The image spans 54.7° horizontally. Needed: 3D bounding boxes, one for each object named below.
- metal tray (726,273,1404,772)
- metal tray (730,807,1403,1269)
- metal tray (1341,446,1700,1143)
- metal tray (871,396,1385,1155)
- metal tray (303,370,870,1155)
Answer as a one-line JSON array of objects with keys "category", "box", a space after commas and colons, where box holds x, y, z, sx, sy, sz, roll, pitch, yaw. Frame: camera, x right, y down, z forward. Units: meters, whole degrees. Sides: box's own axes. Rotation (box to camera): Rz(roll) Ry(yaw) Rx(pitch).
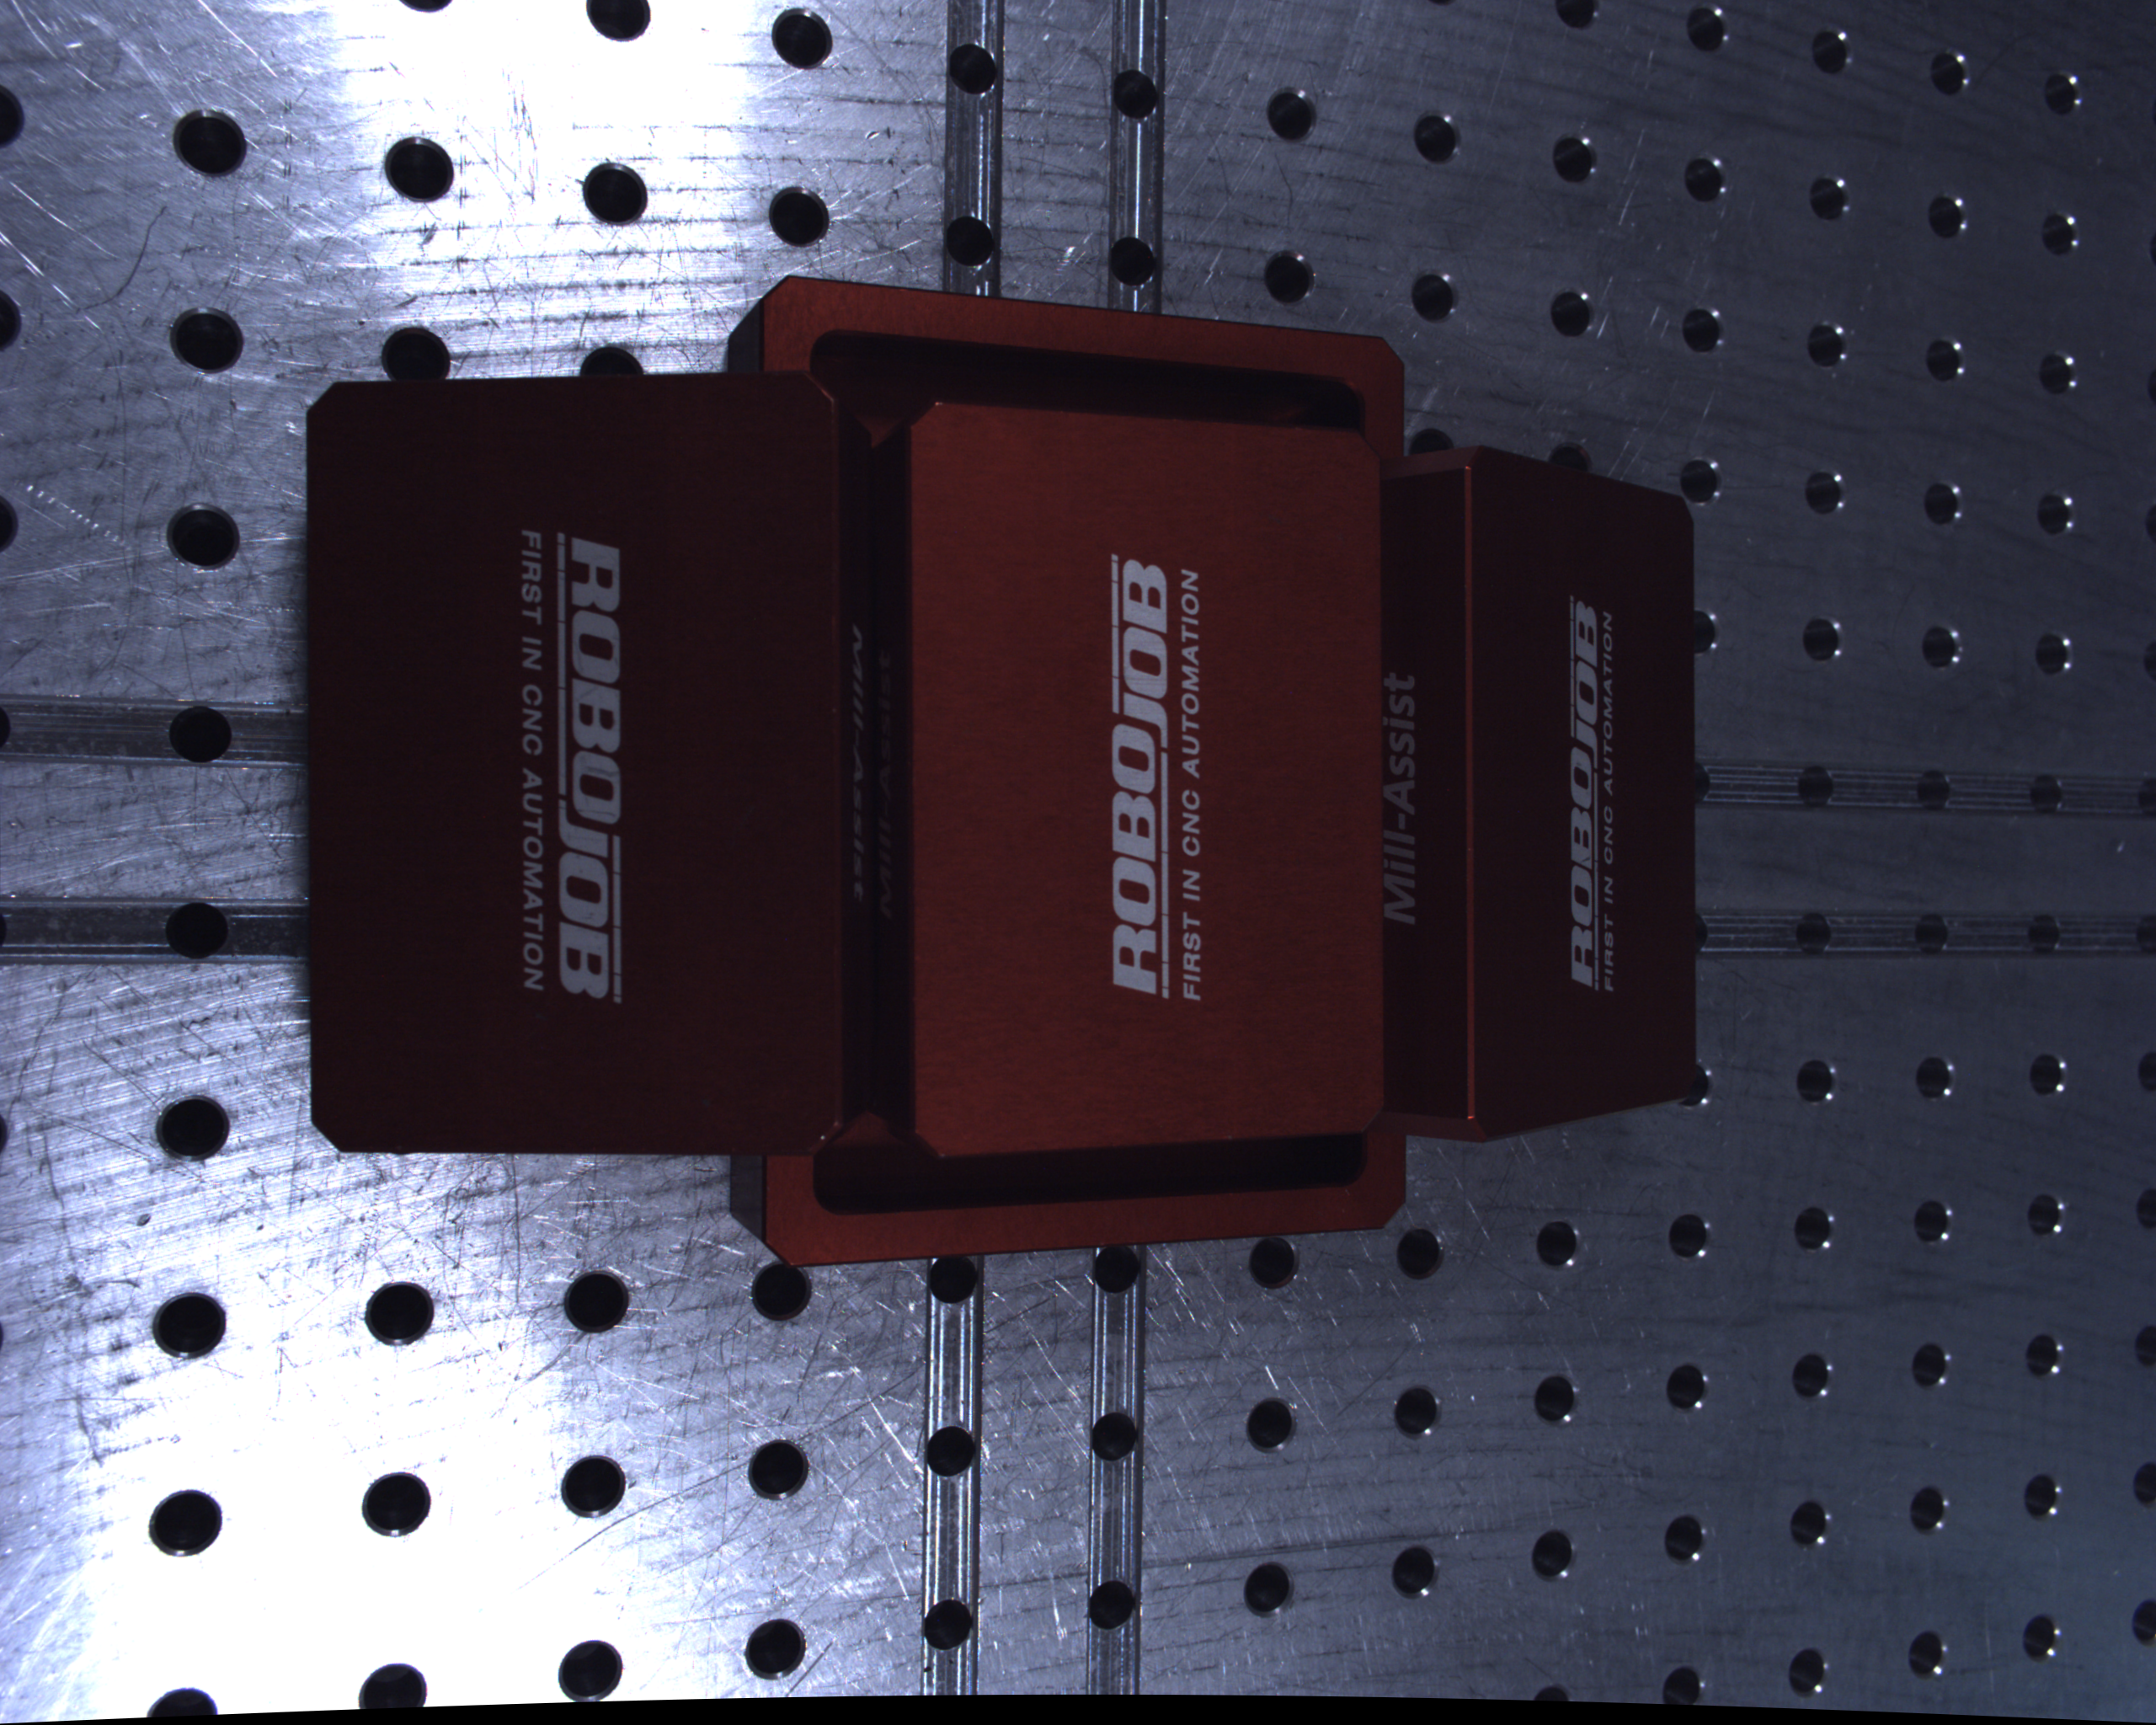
[{"category": "metal tray", "box": [-0.001, -0.061, 0.410, 0.131, 0.030, 0.089, 0, 90, -21]}, {"category": "metal tray", "box": [-0.001, 0.029, 0.411, 0.131, 0.030, 0.089, 0, 90, -21]}, {"category": "metal tray", "box": [0.092, -0.013, 0.425, 0.091, 0.030, 0.129, -1, 91, -47]}, {"category": "metal tray", "box": [0.009, -0.015, 0.382, 0.091, 0.030, 0.129, 0, 90, -21]}, {"category": "metal tray", "box": [-0.084, -0.017, 0.361, 0.091, 0.030, 0.129, 0, 90, 5]}]
